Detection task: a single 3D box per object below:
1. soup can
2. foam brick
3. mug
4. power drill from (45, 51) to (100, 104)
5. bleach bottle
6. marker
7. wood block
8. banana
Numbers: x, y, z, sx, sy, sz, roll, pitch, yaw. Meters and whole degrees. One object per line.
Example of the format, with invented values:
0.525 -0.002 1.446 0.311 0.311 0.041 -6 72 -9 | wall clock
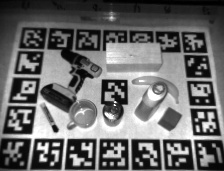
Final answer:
-0.012 0.097 0.740 0.068 0.102 0.067 1 66 -2 | soup can
0.191 0.125 0.759 0.052 0.078 0.051 34 71 13 | foam brick
-0.121 0.103 0.749 0.117 0.082 0.093 -44 79 -12 | mug
-0.163 -0.030 0.815 0.184 0.057 0.187 31 71 5 | power drill
0.114 0.048 0.690 0.067 0.251 0.103 30 71 11 | bleach bottle
-0.237 0.113 0.777 0.020 0.020 0.120 -27 74 -8 | marker
0.074 -0.105 0.830 0.206 0.091 0.089 1 71 -2 | wood block
0.152 -0.011 0.823 0.197 0.039 0.074 17 84 2 | banana
